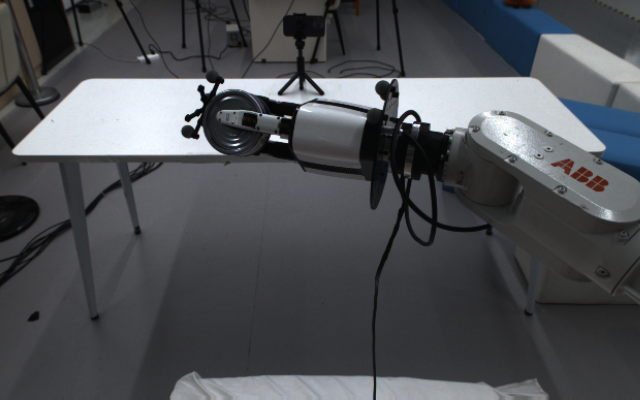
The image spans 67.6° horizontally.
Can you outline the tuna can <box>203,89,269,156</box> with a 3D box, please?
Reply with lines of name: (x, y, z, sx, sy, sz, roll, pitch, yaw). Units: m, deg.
tuna can: (-0.104, -0.096, 0.626, 0.085, 0.085, 0.034, 9, 5, 10)
